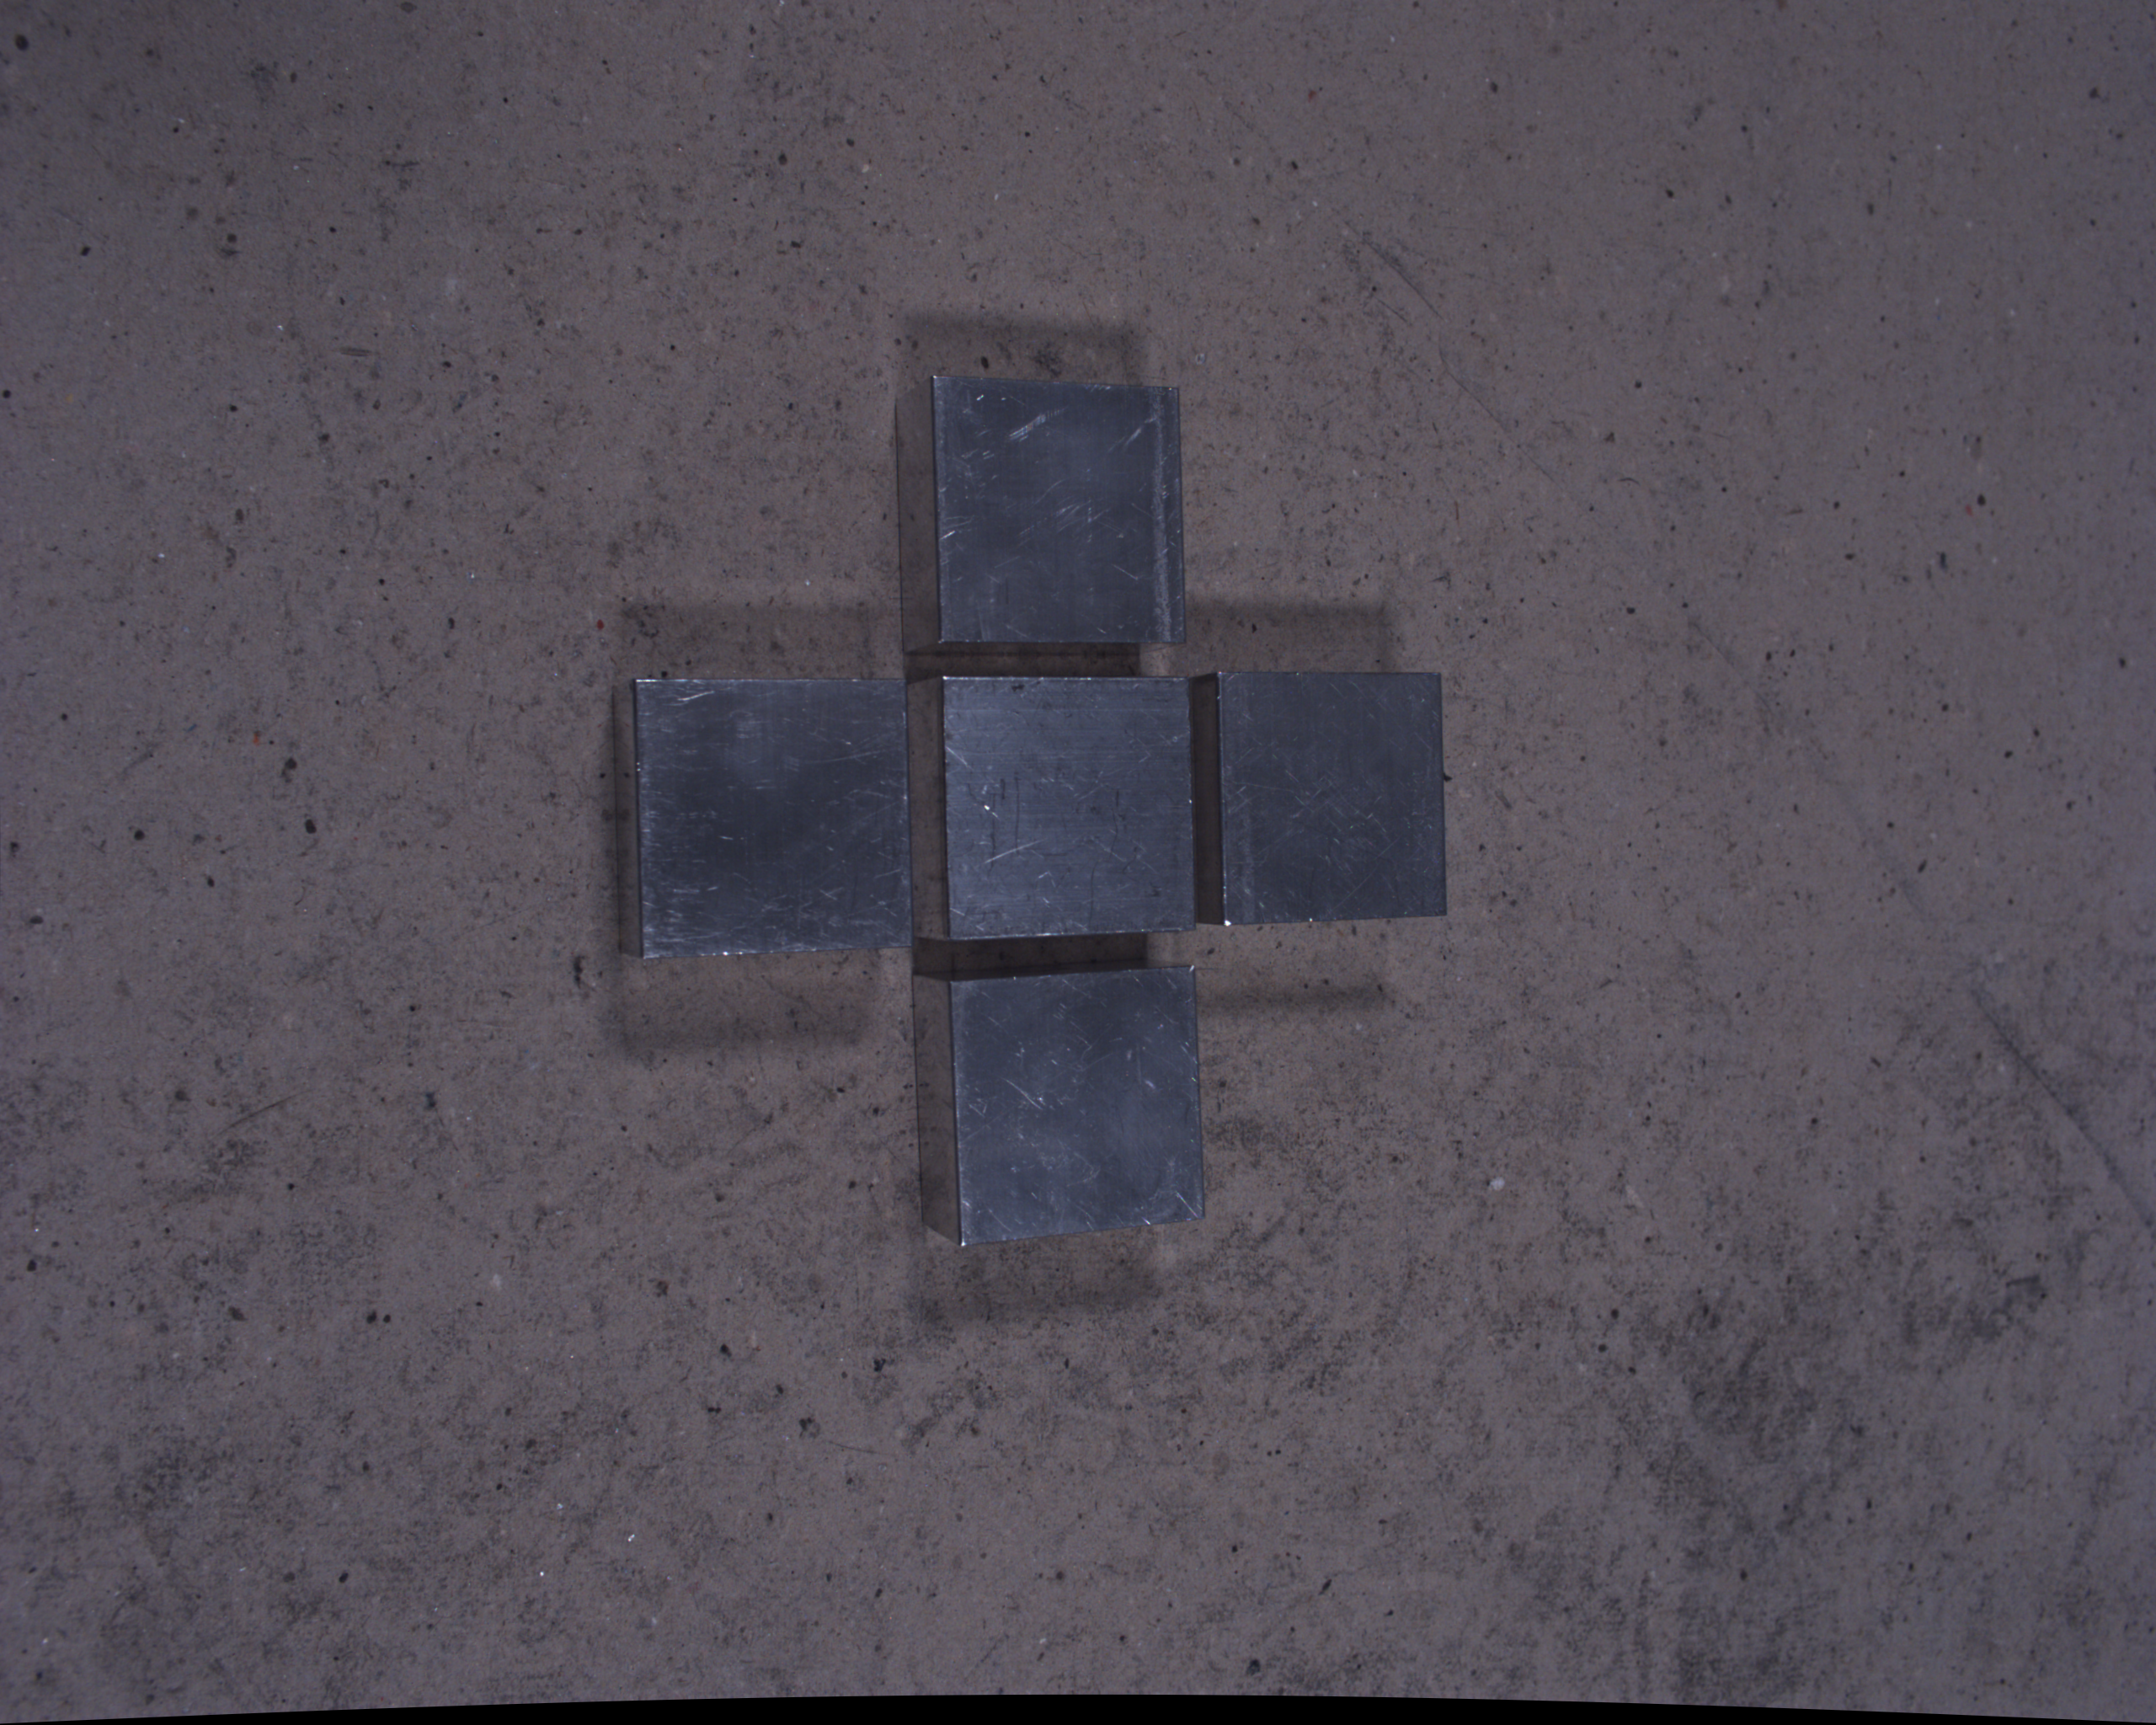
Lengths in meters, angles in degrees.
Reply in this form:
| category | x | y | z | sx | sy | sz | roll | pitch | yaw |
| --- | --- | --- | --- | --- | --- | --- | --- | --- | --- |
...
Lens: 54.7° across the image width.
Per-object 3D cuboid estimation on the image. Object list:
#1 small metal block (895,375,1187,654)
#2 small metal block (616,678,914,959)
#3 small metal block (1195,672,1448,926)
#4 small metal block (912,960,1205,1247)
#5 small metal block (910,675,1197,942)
| category | x | y | z | sx | sy | sz | roll | pitch | yaw |
| --- | --- | --- | --- | --- | --- | --- | --- | --- | --- |
| small metal block | -0.007 | -0.067 | 0.408 | 0.050 | 0.025 | 0.050 | -2 | 91 | -20 |
| small metal block | -0.059 | -0.009 | 0.389 | 0.050 | 0.025 | 0.050 | -2 | 91 | -20 |
| small metal block | 0.047 | -0.013 | 0.429 | 0.050 | 0.025 | 0.050 | -2 | 91 | -20 |
| small metal block | -0.004 | 0.046 | 0.410 | 0.050 | 0.025 | 0.050 | -2 | 91 | -20 |
| small metal block | -0.006 | -0.011 | 0.409 | 0.050 | 0.025 | 0.050 | -2 | 91 | -20 |
